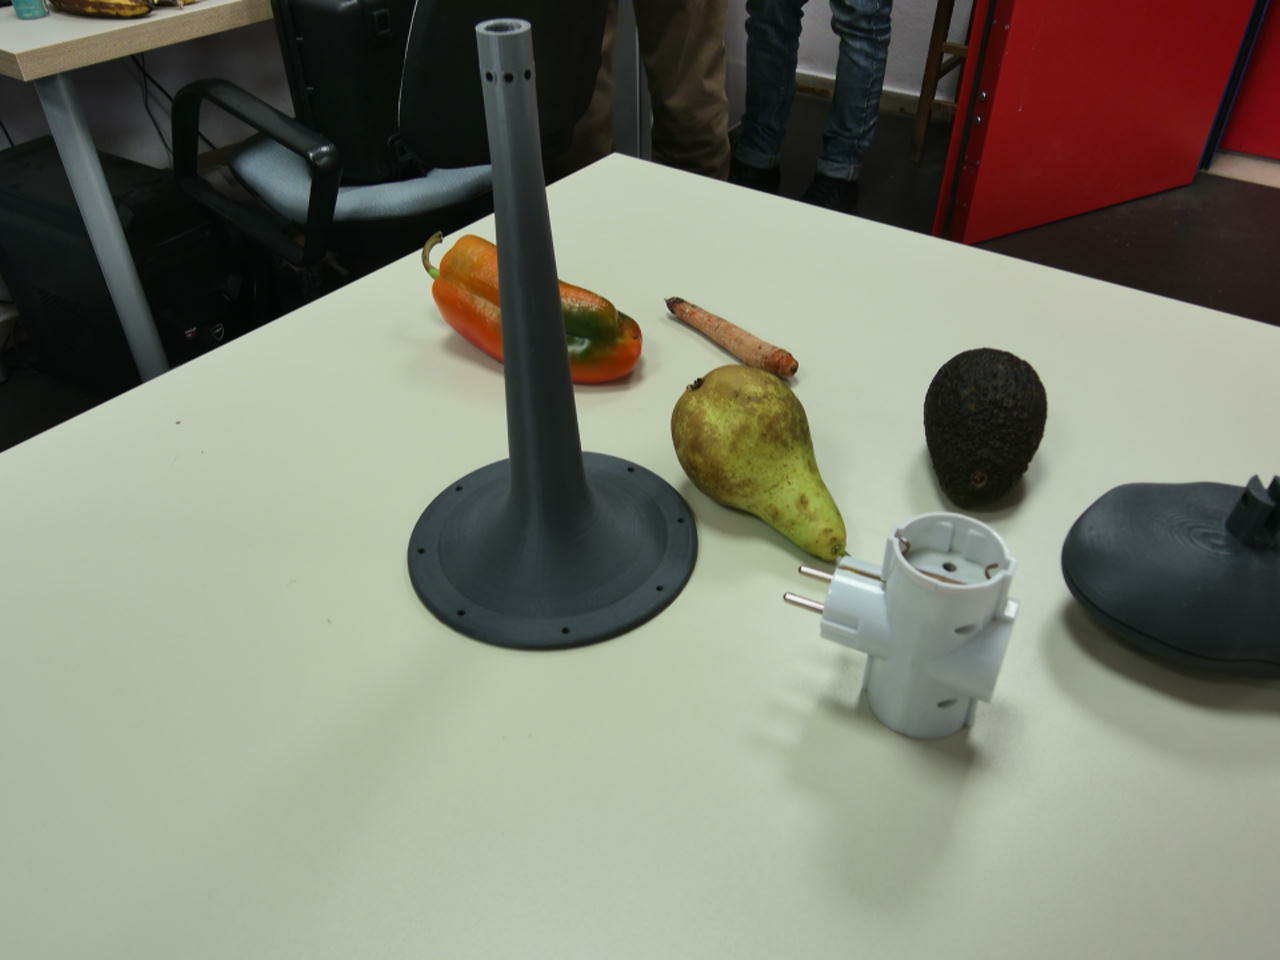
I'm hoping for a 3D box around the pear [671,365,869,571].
[{"bbox_3d":[0.078,-0.009,0.518,0.144,0.075,0.071,31,47,34],"label":"pear"}]
